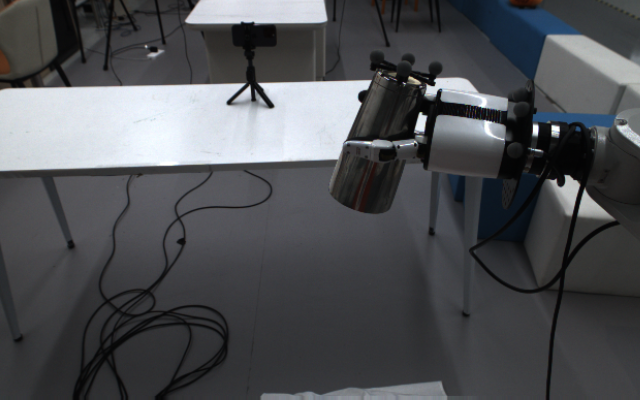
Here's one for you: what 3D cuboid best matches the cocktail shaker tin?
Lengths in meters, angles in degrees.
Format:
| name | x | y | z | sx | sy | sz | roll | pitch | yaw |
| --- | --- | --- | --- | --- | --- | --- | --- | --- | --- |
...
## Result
| name | x | y | z | sx | sy | sz | roll | pitch | yaw |
| --- | --- | --- | --- | --- | --- | --- | --- | --- | --- |
| cocktail shaker tin | 0.080 | -0.080 | 0.629 | 0.093 | 0.170 | 0.093 | 12 | 29 | -7 |
